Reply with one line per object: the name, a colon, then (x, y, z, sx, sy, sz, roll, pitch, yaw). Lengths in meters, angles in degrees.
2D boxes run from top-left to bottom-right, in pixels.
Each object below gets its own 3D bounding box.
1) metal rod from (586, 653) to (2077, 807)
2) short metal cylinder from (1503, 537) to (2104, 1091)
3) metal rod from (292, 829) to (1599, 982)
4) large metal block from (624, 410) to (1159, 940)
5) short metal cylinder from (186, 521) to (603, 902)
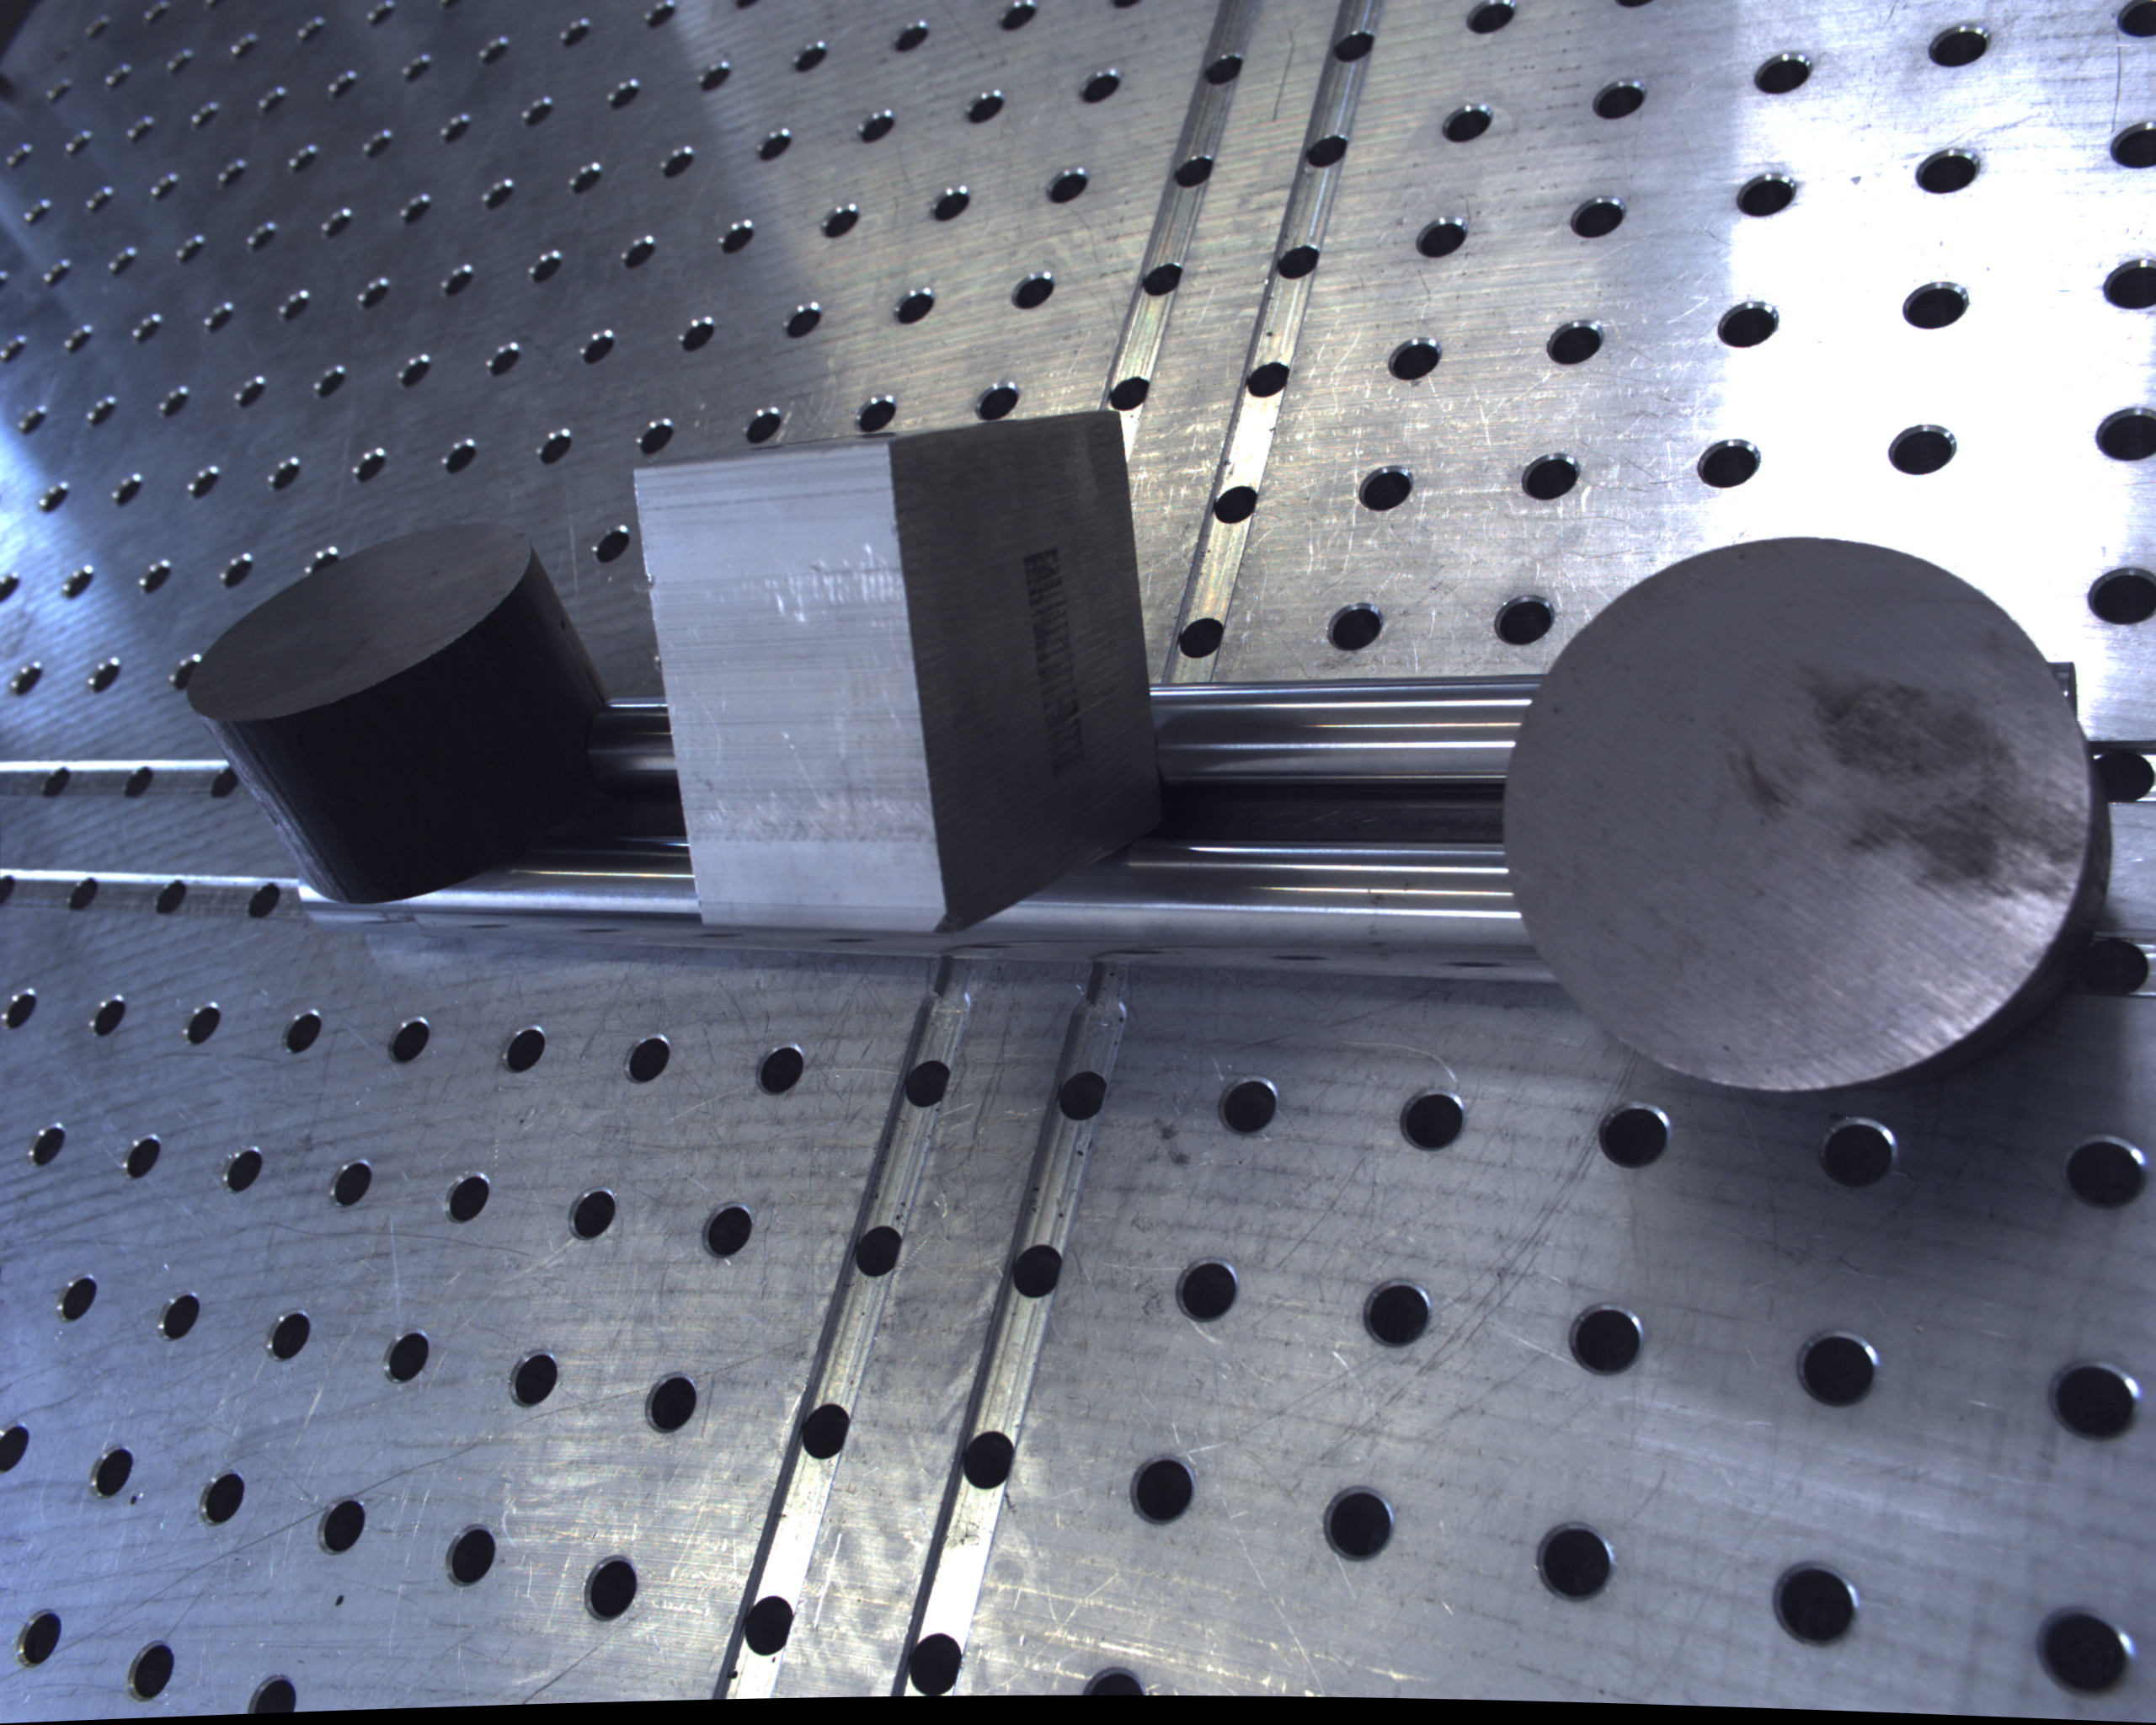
metal rod: (0.028, -0.024, 0.407, 0.300, 0.025, 0.025, 1, 62, 28)
short metal cylinder: (0.112, -0.005, 0.319, 0.080, 0.050, 0.080, -4, 82, 28)
metal rod: (-0.045, 0.006, 0.428, 0.300, 0.025, 0.025, 1, 62, 28)
large metal block: (-0.029, -0.036, 0.372, 0.050, 0.080, 0.079, 1, 104, 29)
short metal cylinder: (-0.152, -0.036, 0.475, 0.080, 0.050, 0.080, -14, 34, 10)
